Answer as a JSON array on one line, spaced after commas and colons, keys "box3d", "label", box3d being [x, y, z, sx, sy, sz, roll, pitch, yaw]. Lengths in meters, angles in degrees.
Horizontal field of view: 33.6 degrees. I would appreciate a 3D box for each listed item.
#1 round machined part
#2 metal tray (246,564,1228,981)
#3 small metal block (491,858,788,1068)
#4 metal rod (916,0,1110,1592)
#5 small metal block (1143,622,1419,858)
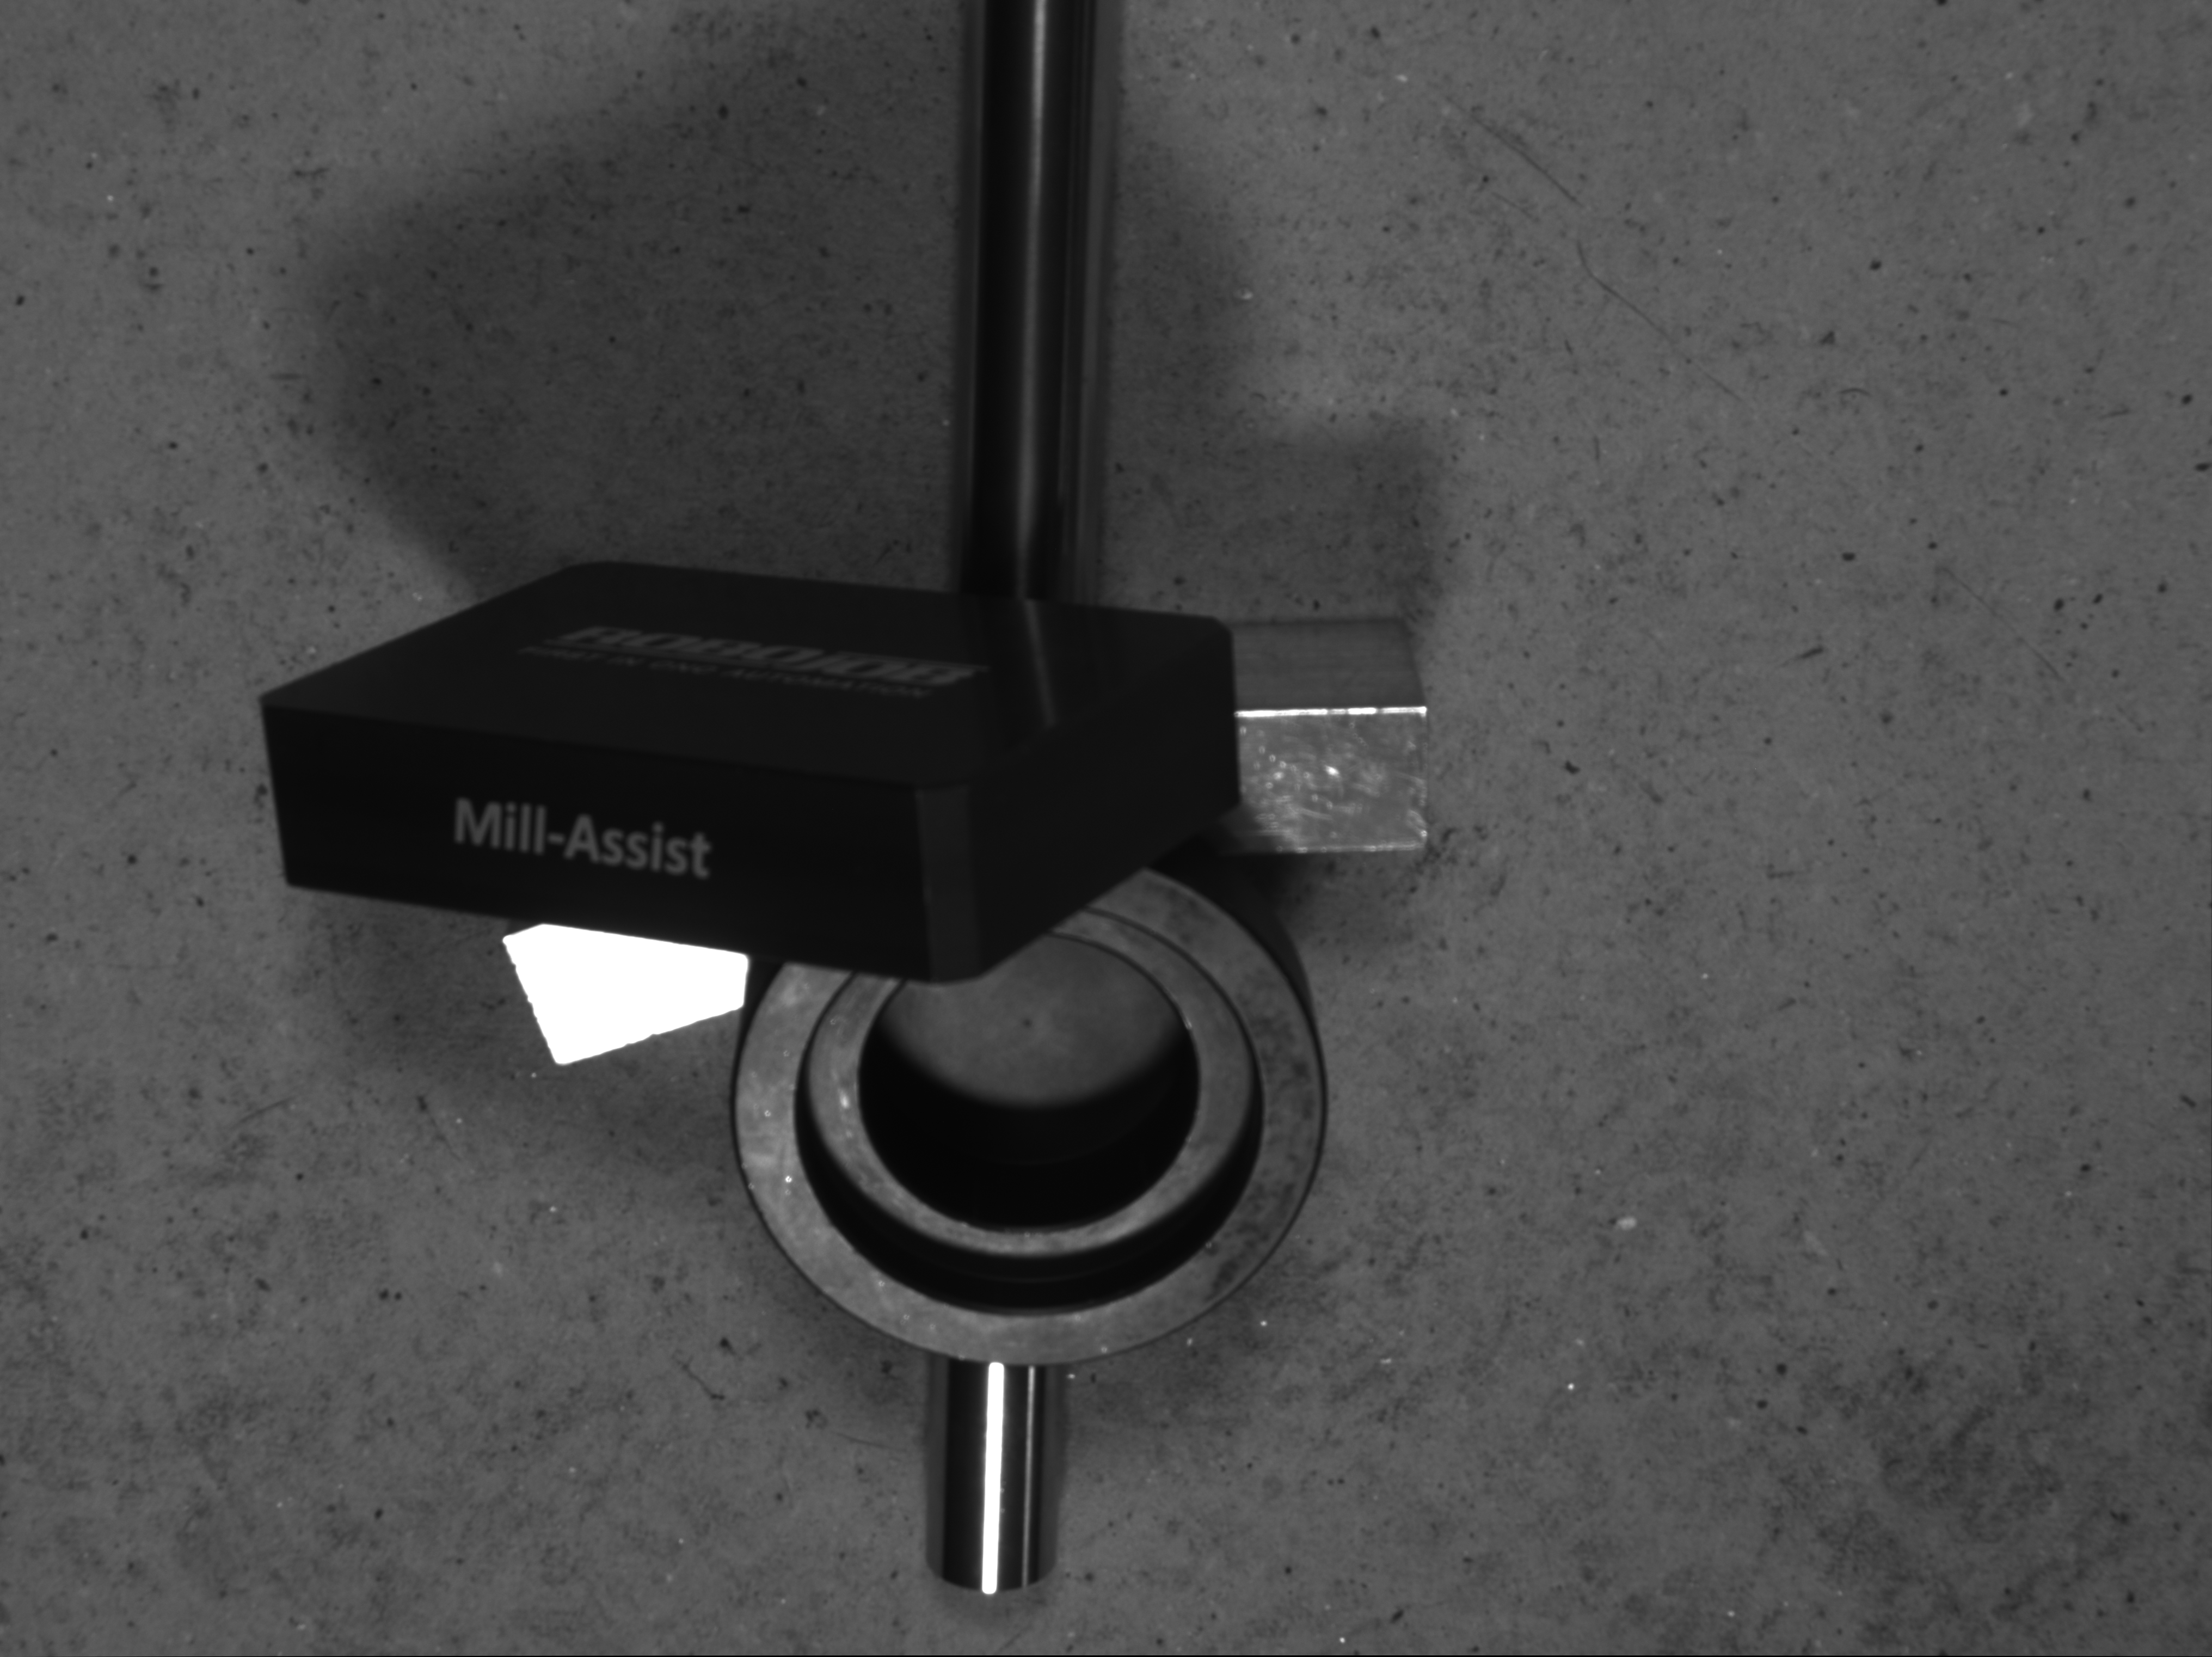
[{"box3d": [-0.015, 0.039, 0.619, 0.098, 0.042, 0.098, -1, 113, -2], "label": "round machined part"}, {"box3d": [-0.057, -0.012, 0.579, 0.130, 0.090, 0.030, 7, 111, 28], "label": "metal tray"}, {"box3d": [-0.075, 0.013, 0.634, 0.050, 0.050, 0.025, -18, 109, 6], "label": "small metal block"}, {"box3d": [-0.017, -0.003, 0.642, 0.025, 0.025, 0.300, 2, 110, -1], "label": "metal rod"}, {"box3d": [0.026, -0.015, 0.625, 0.050, 0.050, 0.025, -1, 110, 0], "label": "small metal block"}]
